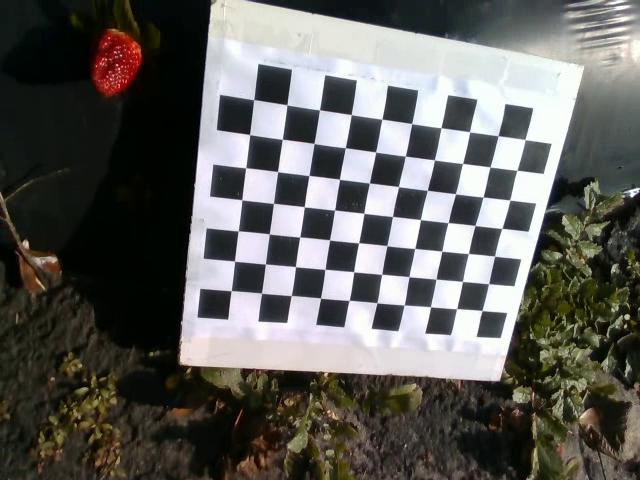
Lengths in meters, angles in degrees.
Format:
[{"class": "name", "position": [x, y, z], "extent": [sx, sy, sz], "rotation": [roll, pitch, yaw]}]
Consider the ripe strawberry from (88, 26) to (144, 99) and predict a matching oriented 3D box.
[{"class": "ripe strawberry", "position": [-0.050, -0.042, 0.157], "extent": [0.015, 0.023, 0.015], "rotation": [14, -38, -16]}]
